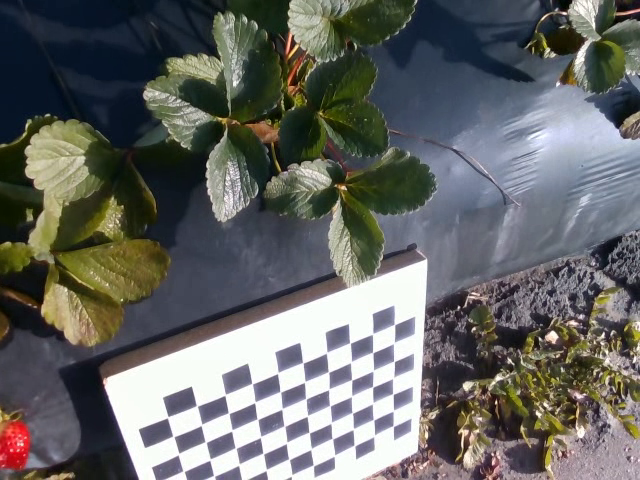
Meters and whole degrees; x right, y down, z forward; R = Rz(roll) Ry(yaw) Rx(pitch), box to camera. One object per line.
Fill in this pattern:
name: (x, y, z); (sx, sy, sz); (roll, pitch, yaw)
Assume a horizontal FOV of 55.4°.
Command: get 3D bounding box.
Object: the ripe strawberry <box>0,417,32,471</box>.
ripe strawberry: (-0.217, 0.147, 0.422); (0.040, 0.044, 0.036); (-33, 27, -7)
